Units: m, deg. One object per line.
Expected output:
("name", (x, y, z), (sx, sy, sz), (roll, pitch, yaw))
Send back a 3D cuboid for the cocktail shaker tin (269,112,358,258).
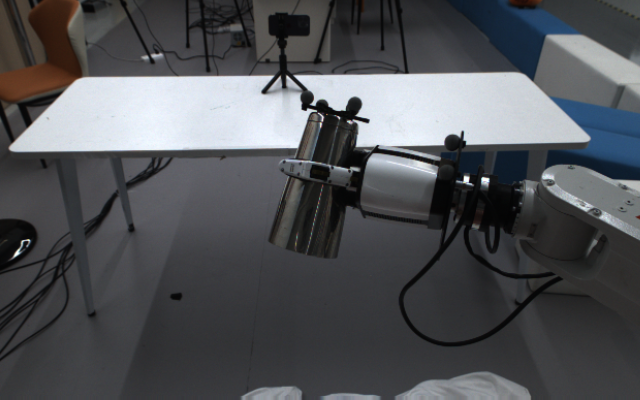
("cocktail shaker tin", (-0.002, -0.020, 0.618), (0.093, 0.170, 0.093), (14, 2, 0))
